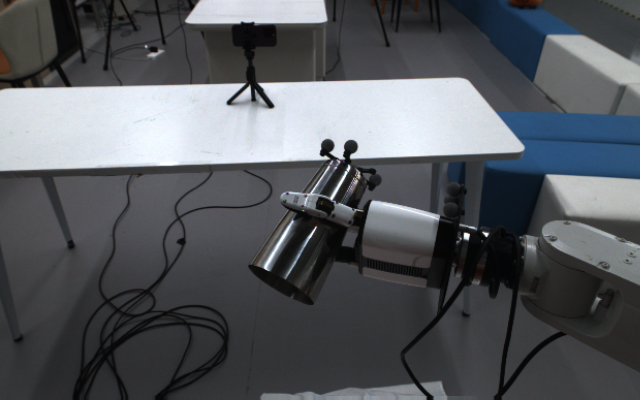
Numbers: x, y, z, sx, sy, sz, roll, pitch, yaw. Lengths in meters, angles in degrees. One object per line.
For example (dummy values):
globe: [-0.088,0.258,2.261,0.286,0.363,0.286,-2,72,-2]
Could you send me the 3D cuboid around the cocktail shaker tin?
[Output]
cocktail shaker tin: [-0.005,0.031,0.609,0.093,0.093,0.170,20,67,24]
